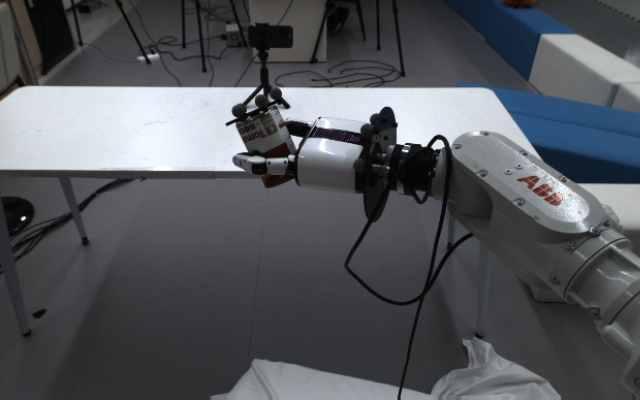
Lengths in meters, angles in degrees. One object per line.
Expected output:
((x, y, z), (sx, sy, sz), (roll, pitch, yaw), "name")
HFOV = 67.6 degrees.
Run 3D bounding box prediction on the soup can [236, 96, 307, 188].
((-0.072, -0.077, 0.708), (0.067, 0.101, 0.067), (-24, 16, 7), "soup can")
